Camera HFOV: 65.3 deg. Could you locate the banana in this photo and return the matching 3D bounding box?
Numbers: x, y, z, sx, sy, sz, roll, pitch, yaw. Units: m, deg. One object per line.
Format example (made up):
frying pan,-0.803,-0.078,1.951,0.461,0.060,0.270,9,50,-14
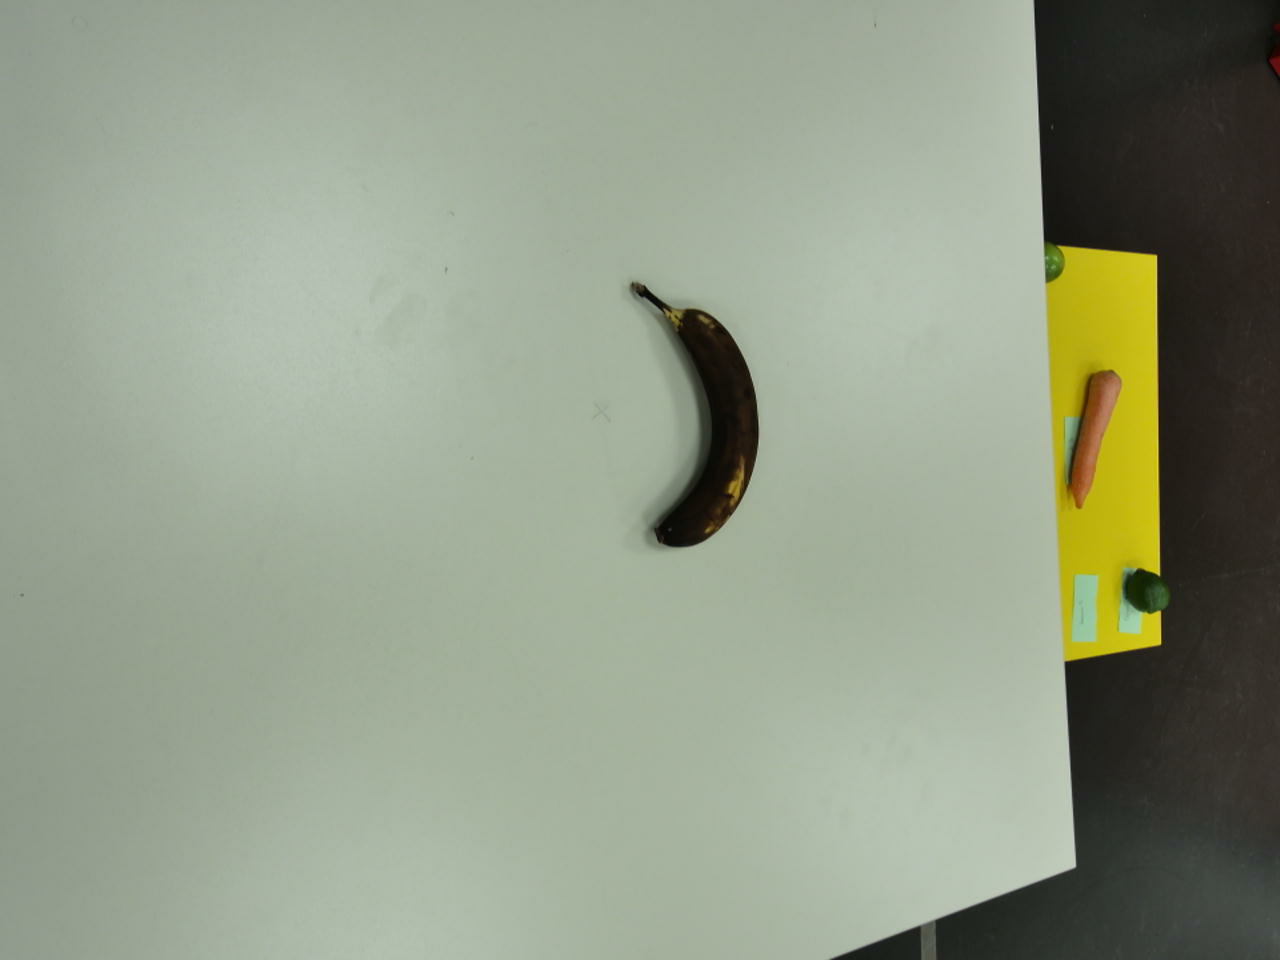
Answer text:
banana,0.045,-0.048,0.712,0.091,0.034,0.188,-4,93,-28
